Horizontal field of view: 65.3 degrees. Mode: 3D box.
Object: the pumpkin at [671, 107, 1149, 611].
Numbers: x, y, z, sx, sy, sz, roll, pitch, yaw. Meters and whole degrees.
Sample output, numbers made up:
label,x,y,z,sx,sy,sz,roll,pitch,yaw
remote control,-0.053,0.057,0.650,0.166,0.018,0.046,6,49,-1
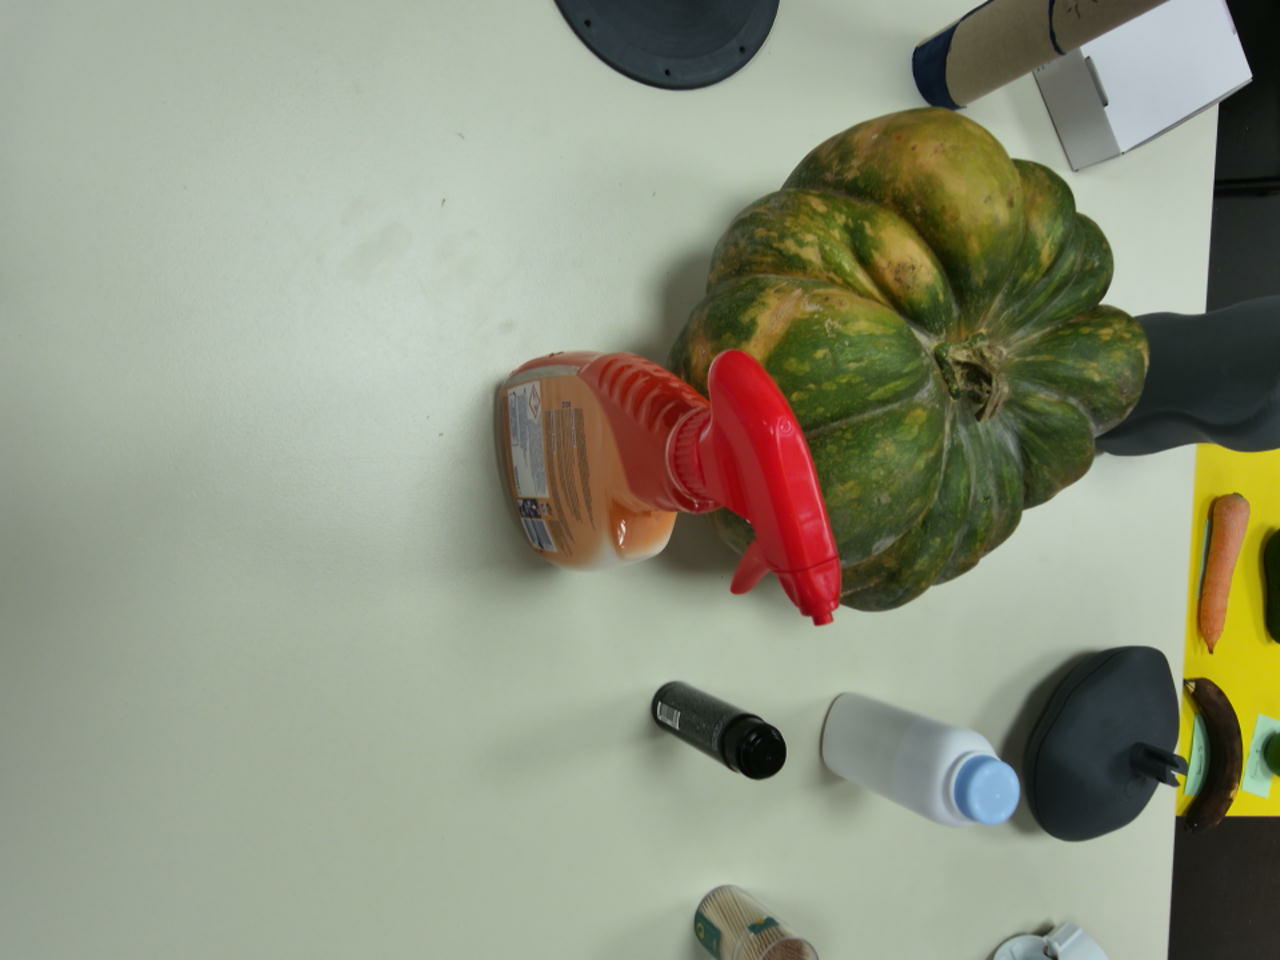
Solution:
label,x,y,z,sx,sy,sz,roll,pitch,yaw
pumpkin,0.141,-0.059,0.536,0.237,0.173,0.270,44,75,-17
